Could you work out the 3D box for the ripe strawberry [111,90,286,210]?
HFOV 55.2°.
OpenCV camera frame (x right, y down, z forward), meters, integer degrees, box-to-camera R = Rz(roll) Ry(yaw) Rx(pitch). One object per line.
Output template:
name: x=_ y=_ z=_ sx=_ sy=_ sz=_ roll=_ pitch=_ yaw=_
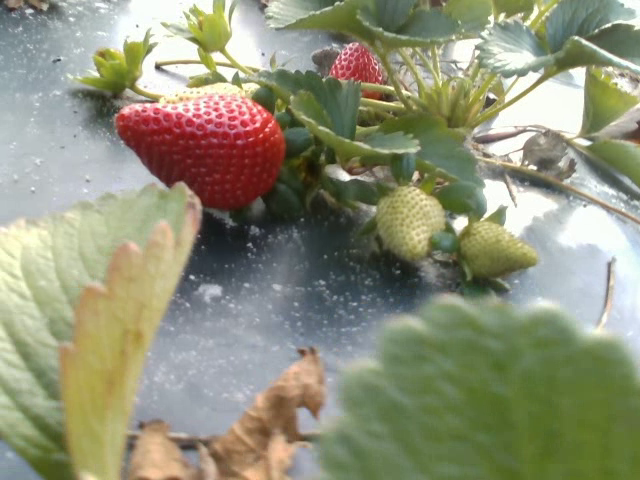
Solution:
ripe strawberry: x=-0.045 y=-0.035 z=0.202 sx=0.051 sy=0.048 sz=0.055 roll=-12 pitch=-16 yaw=37
